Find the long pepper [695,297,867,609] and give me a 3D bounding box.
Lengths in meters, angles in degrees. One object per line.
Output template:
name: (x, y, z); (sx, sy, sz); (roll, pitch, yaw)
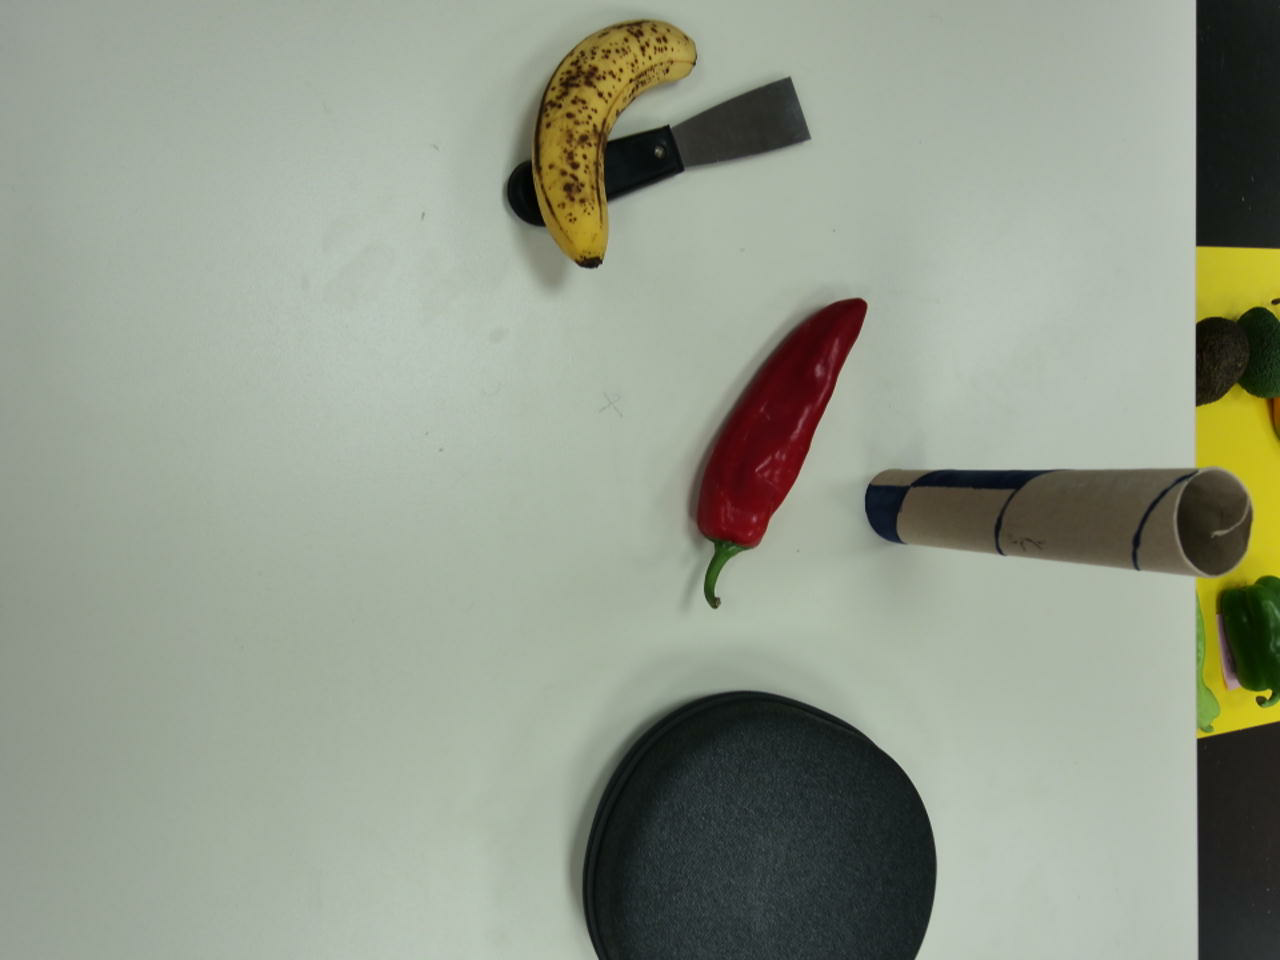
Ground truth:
long pepper: (0.076, -0.025, 0.579); (0.050, 0.043, 0.211); (33, 78, -19)
